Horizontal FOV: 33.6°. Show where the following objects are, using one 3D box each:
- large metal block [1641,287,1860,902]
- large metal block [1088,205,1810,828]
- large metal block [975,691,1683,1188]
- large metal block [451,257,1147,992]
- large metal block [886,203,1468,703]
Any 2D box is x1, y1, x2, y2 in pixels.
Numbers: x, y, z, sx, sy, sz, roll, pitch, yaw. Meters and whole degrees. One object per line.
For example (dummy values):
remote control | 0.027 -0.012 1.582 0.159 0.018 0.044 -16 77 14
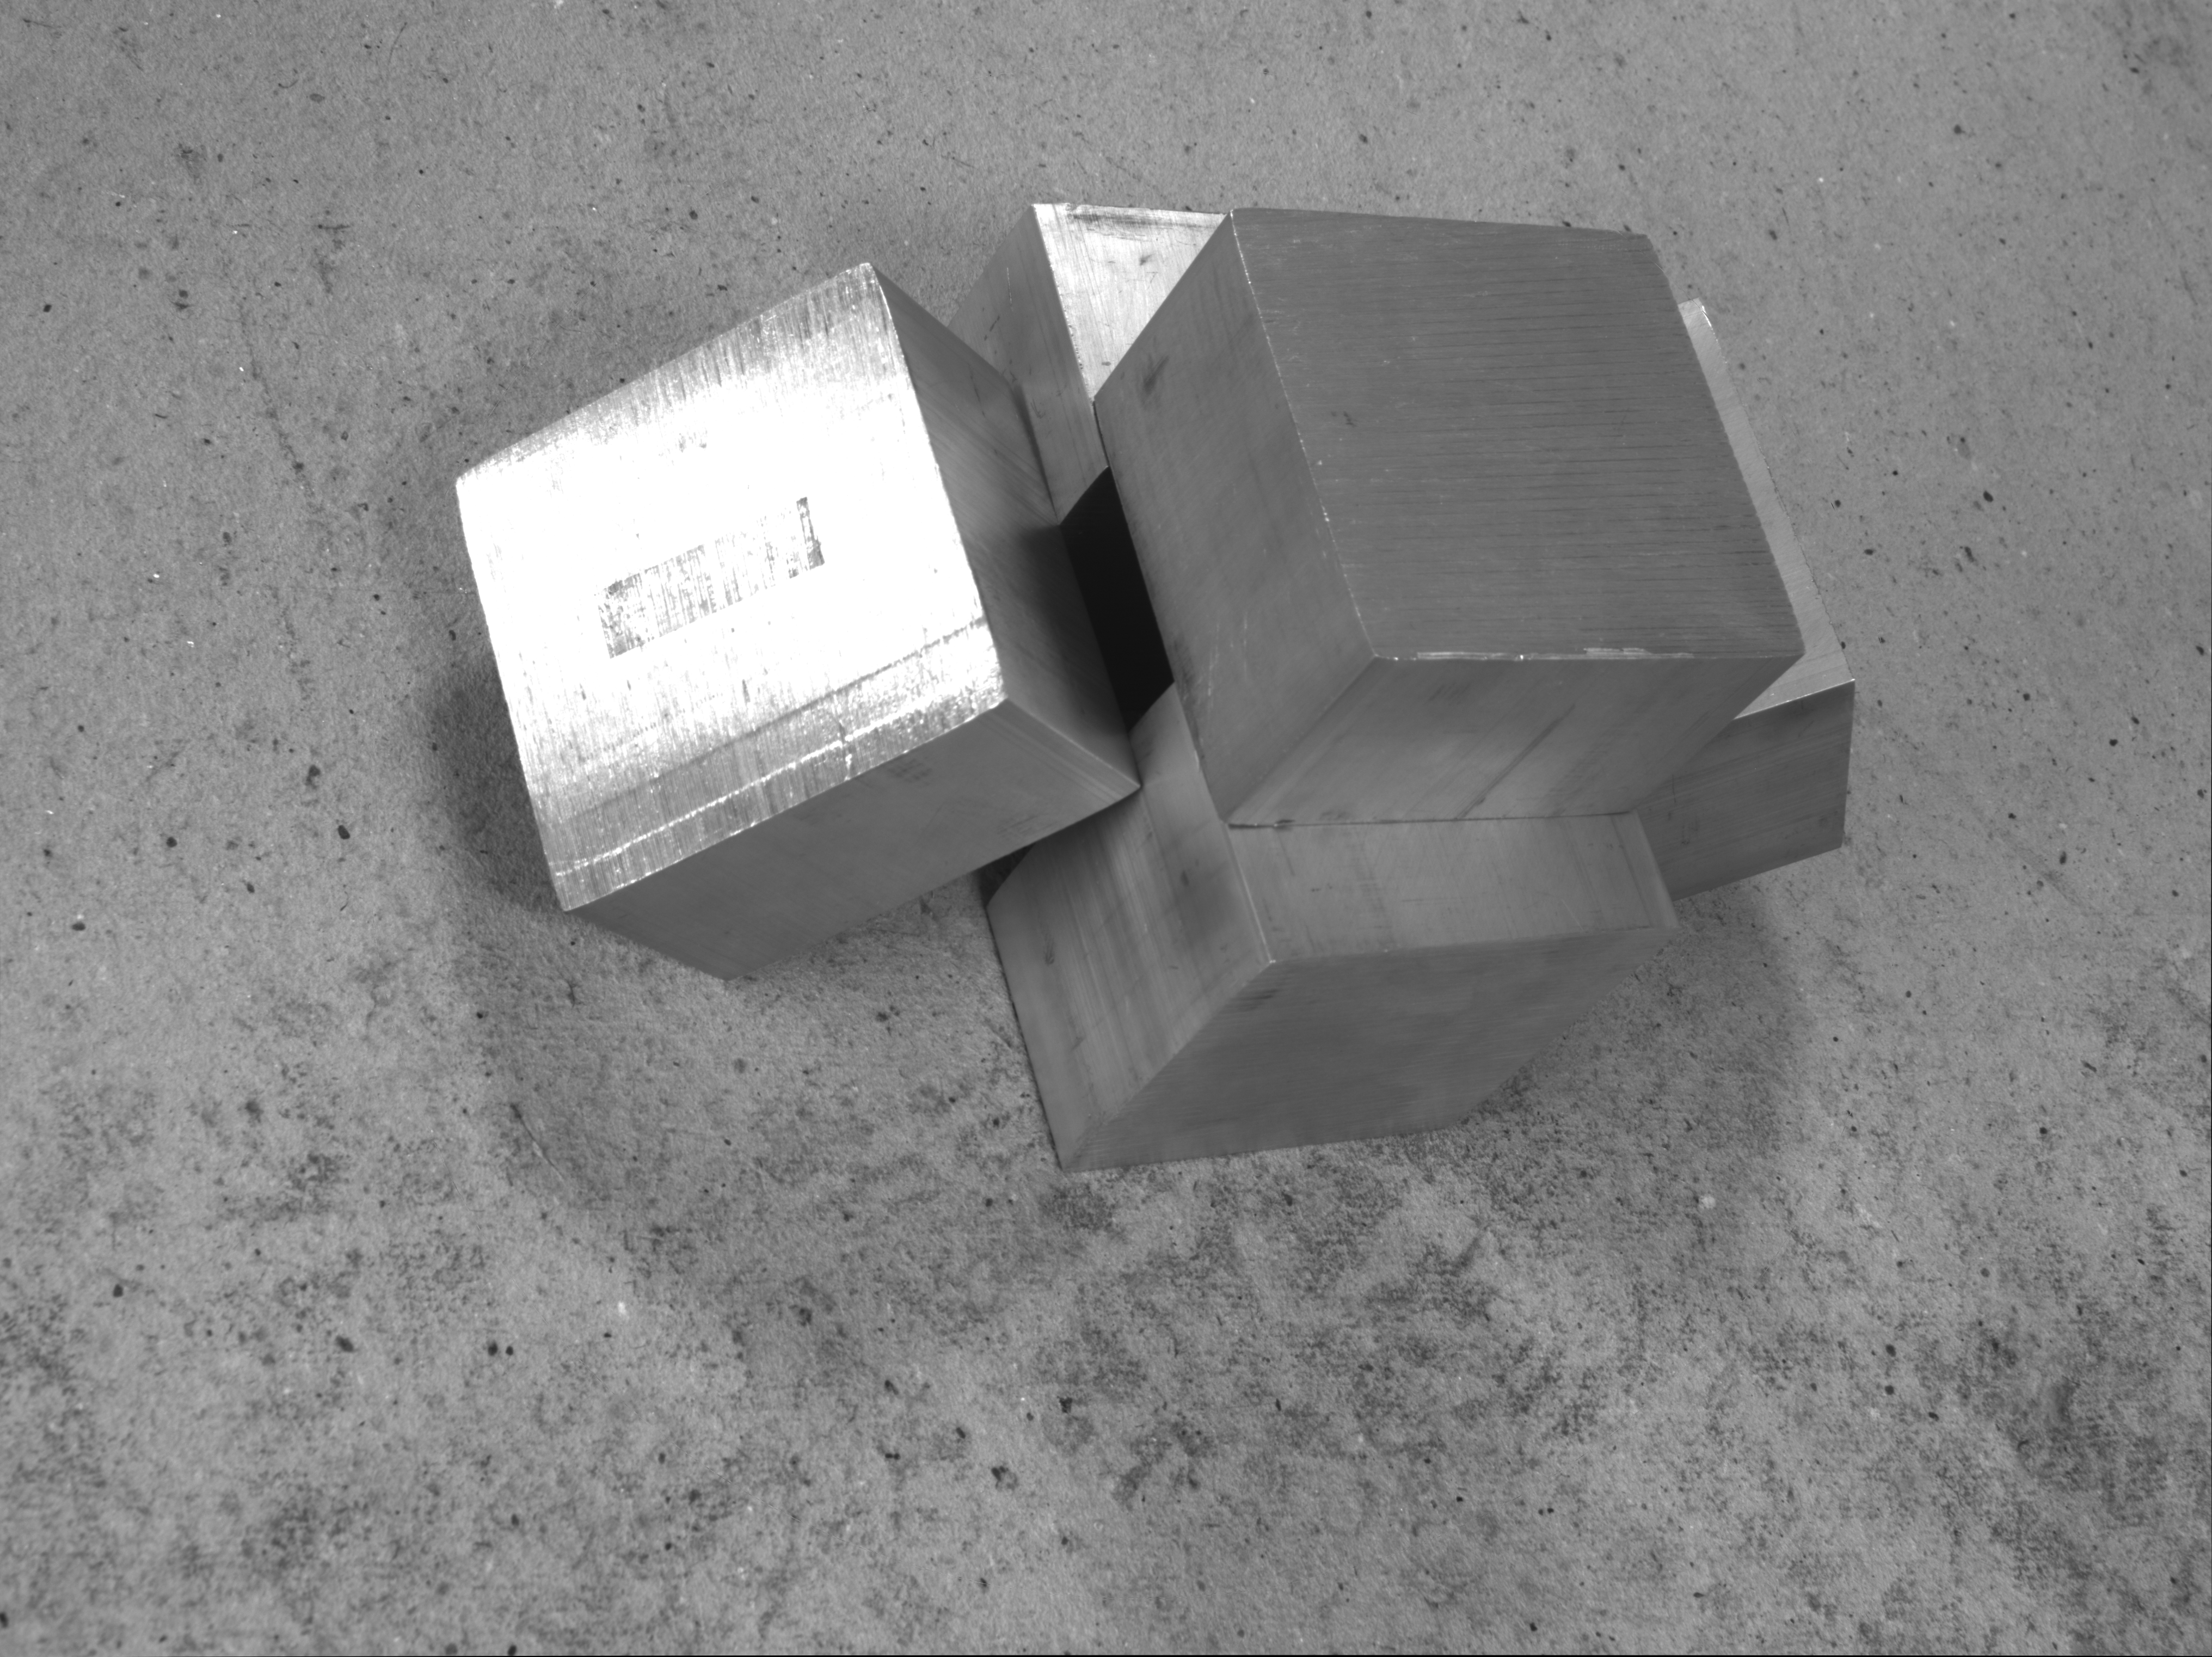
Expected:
large metal block | 0.098 -0.038 0.670 0.050 0.080 0.080 -18 67 2
large metal block | 0.052 -0.048 0.578 0.080 0.050 0.080 -2 62 -29
large metal block | 0.035 0.017 0.614 0.080 0.080 0.050 -4 63 -29
large metal block | -0.050 -0.031 0.587 0.050 0.080 0.080 34 35 -61
large metal block | 0.012 -0.064 0.650 0.080 0.080 0.050 -2 62 -29
